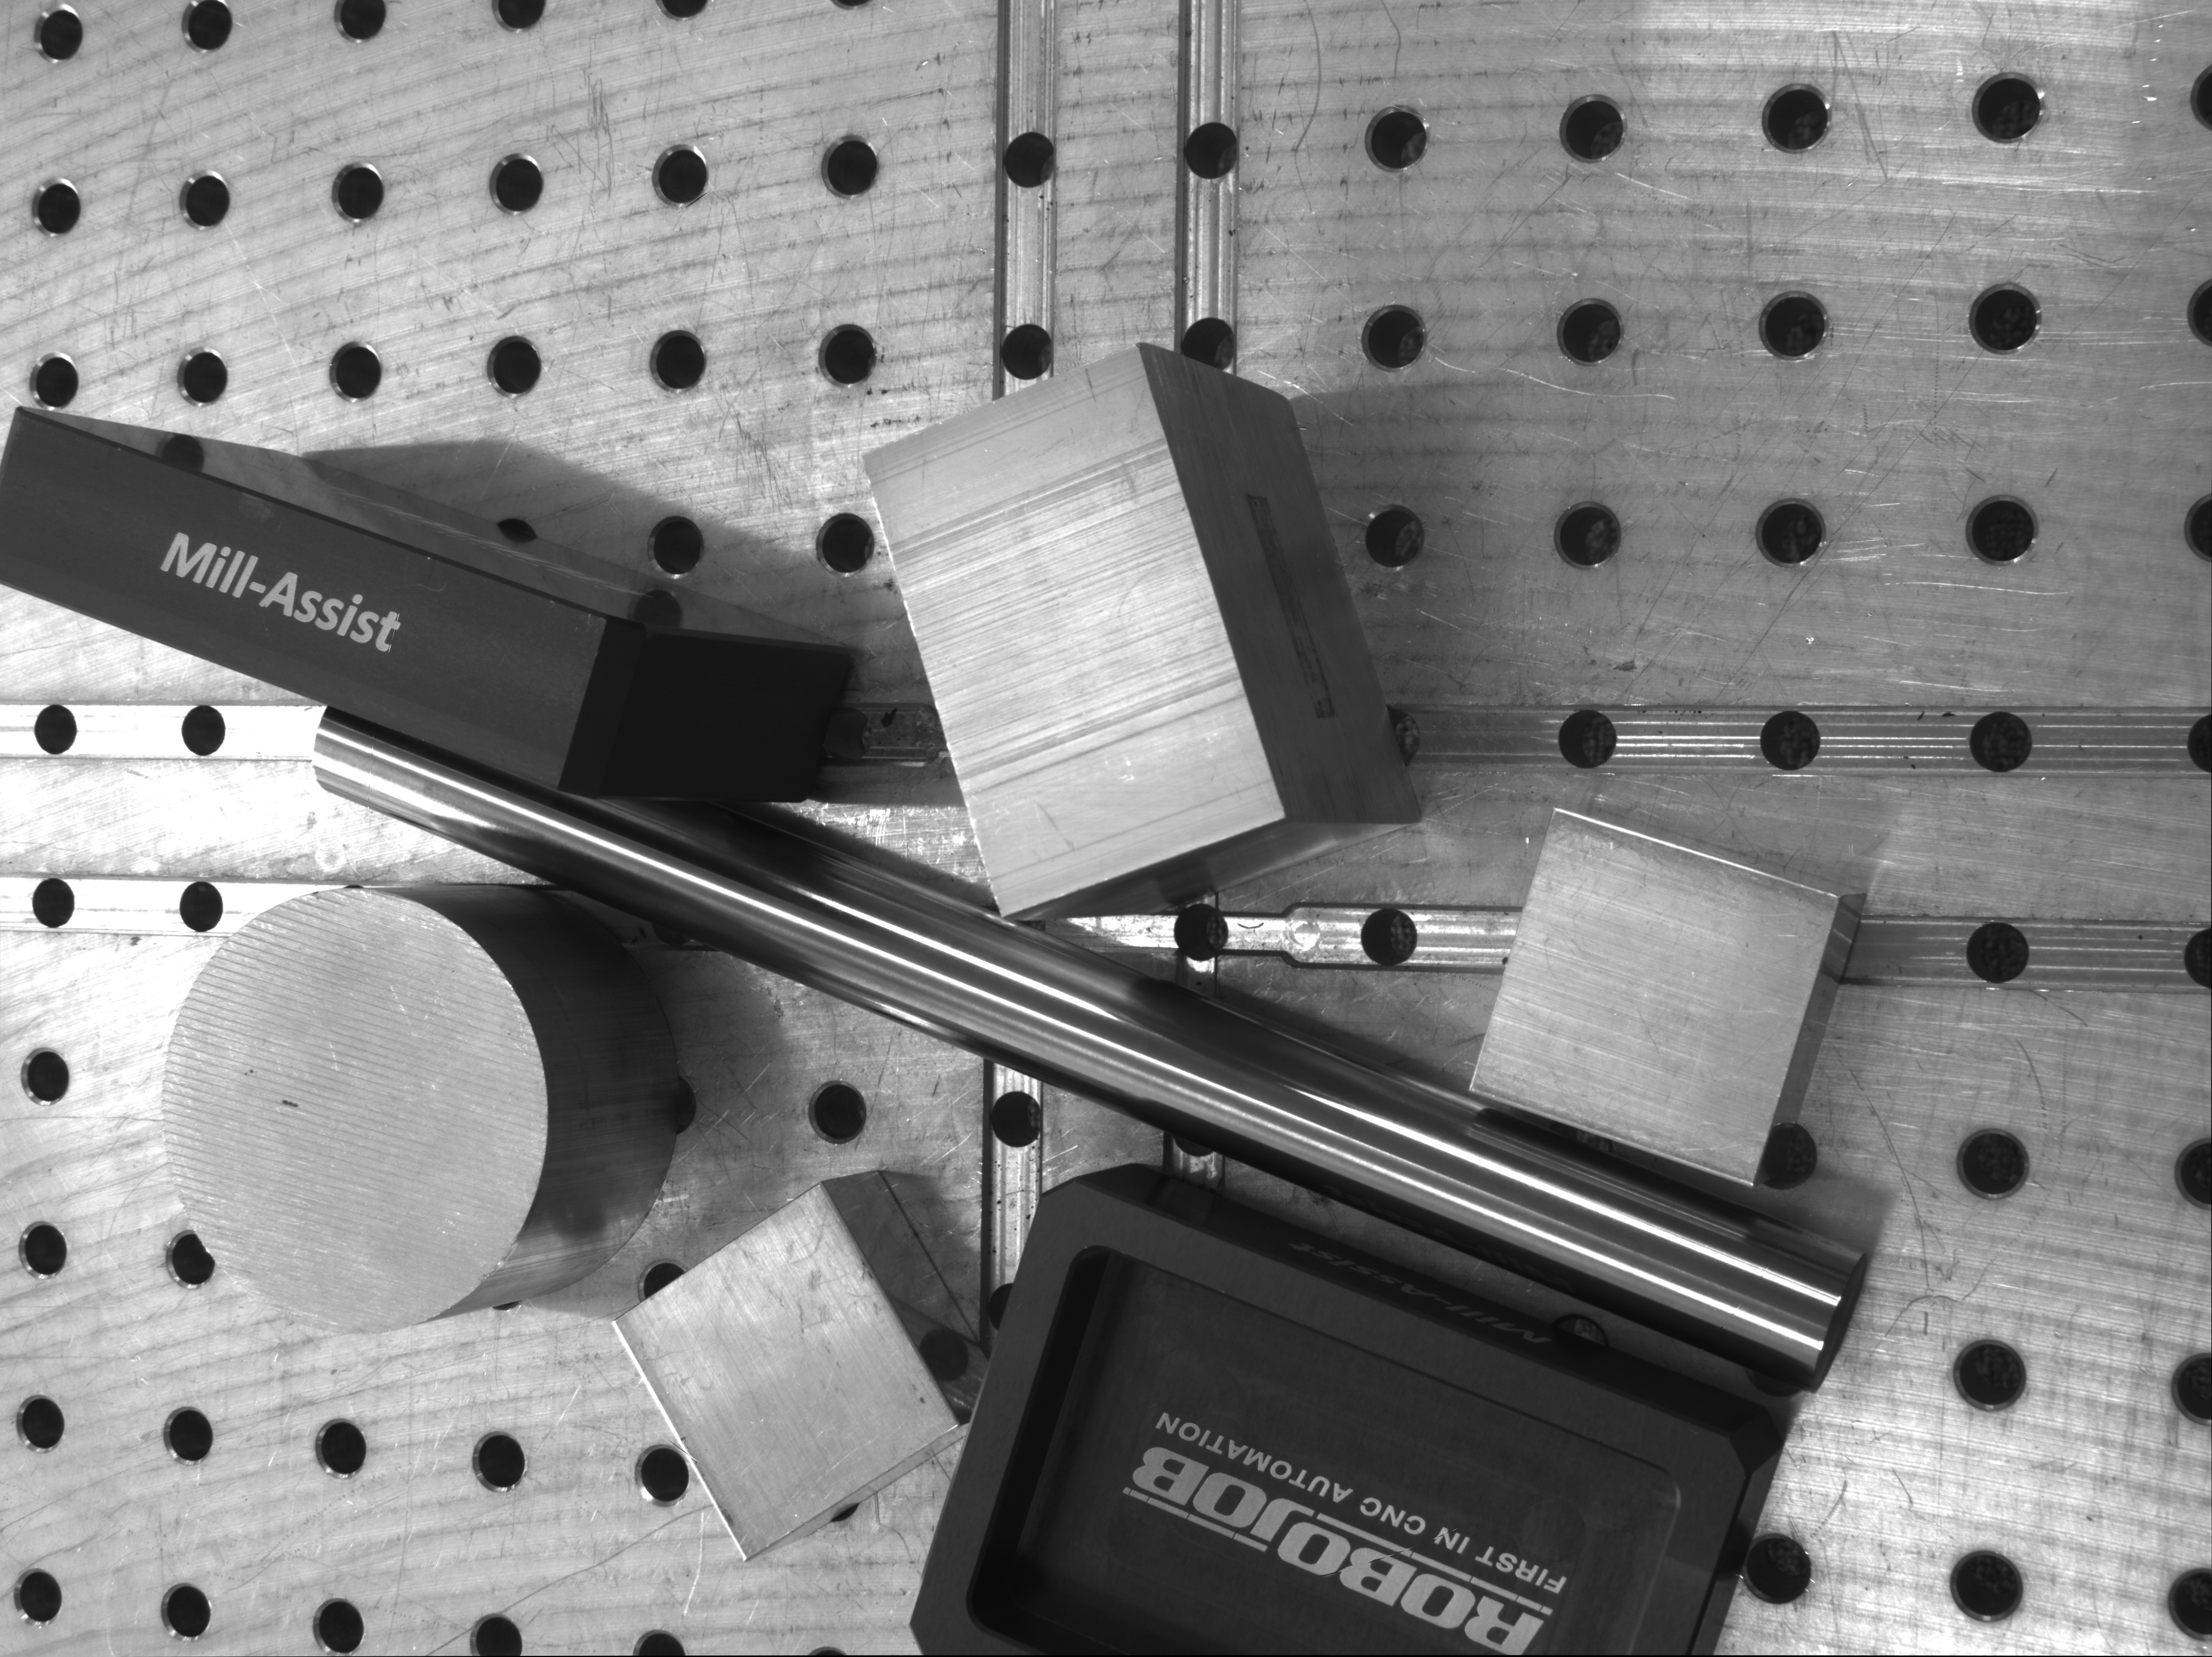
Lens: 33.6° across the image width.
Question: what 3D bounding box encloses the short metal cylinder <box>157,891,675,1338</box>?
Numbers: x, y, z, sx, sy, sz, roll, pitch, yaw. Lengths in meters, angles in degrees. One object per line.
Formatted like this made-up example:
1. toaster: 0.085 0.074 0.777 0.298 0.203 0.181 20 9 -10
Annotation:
1. short metal cylinder: -0.127 0.051 0.681 0.080 0.050 0.080 0 90 20

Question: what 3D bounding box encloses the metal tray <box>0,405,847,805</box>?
1. metal tray: -0.123 -0.039 0.658 0.130 0.090 0.030 20 97 19

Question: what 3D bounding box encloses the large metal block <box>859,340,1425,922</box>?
1. large metal block: 0.008 -0.031 0.618 0.050 0.080 0.080 -20 83 19

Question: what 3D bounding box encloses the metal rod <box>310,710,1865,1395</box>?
1. metal rod: -0.012 0.032 0.653 0.299 0.025 0.025 21 97 19

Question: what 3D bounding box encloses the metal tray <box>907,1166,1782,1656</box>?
1. metal tray: 0.040 0.122 0.631 0.130 0.030 0.090 19 97 19

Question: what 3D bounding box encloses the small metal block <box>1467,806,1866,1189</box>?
1. small metal block: 0.094 0.028 0.614 0.050 0.025 0.050 18 96 19

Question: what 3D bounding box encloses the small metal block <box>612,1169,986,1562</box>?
1. small metal block: -0.053 0.097 0.669 0.050 0.025 0.050 -34 79 17
